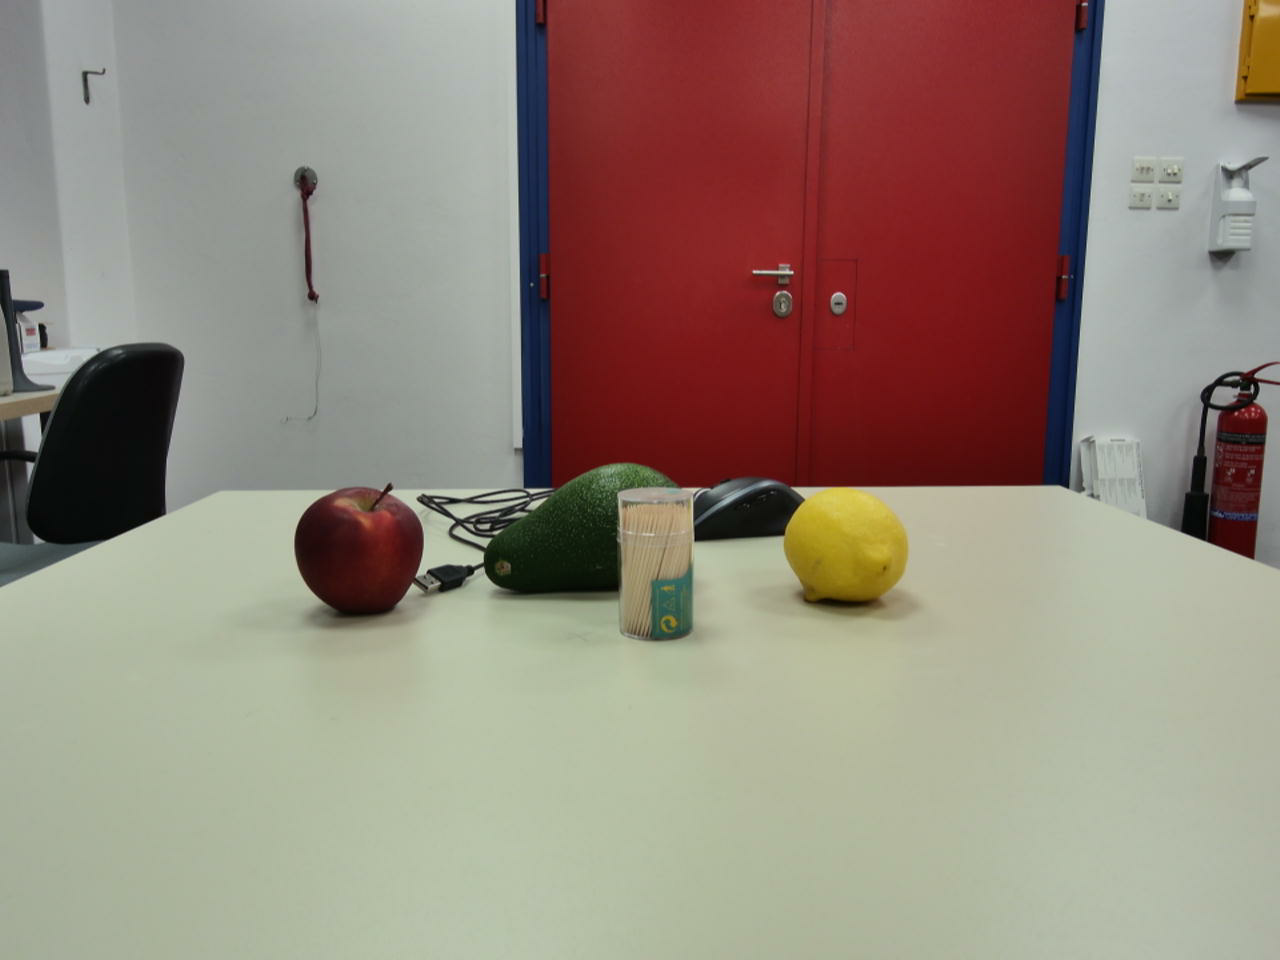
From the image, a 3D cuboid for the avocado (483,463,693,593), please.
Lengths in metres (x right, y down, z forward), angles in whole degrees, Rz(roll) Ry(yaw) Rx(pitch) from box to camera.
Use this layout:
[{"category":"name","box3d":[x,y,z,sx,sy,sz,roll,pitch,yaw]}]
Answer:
[{"category":"avocado","box3d":[-0.030,0.027,0.610,0.123,0.076,0.074,0,8,5]}]
